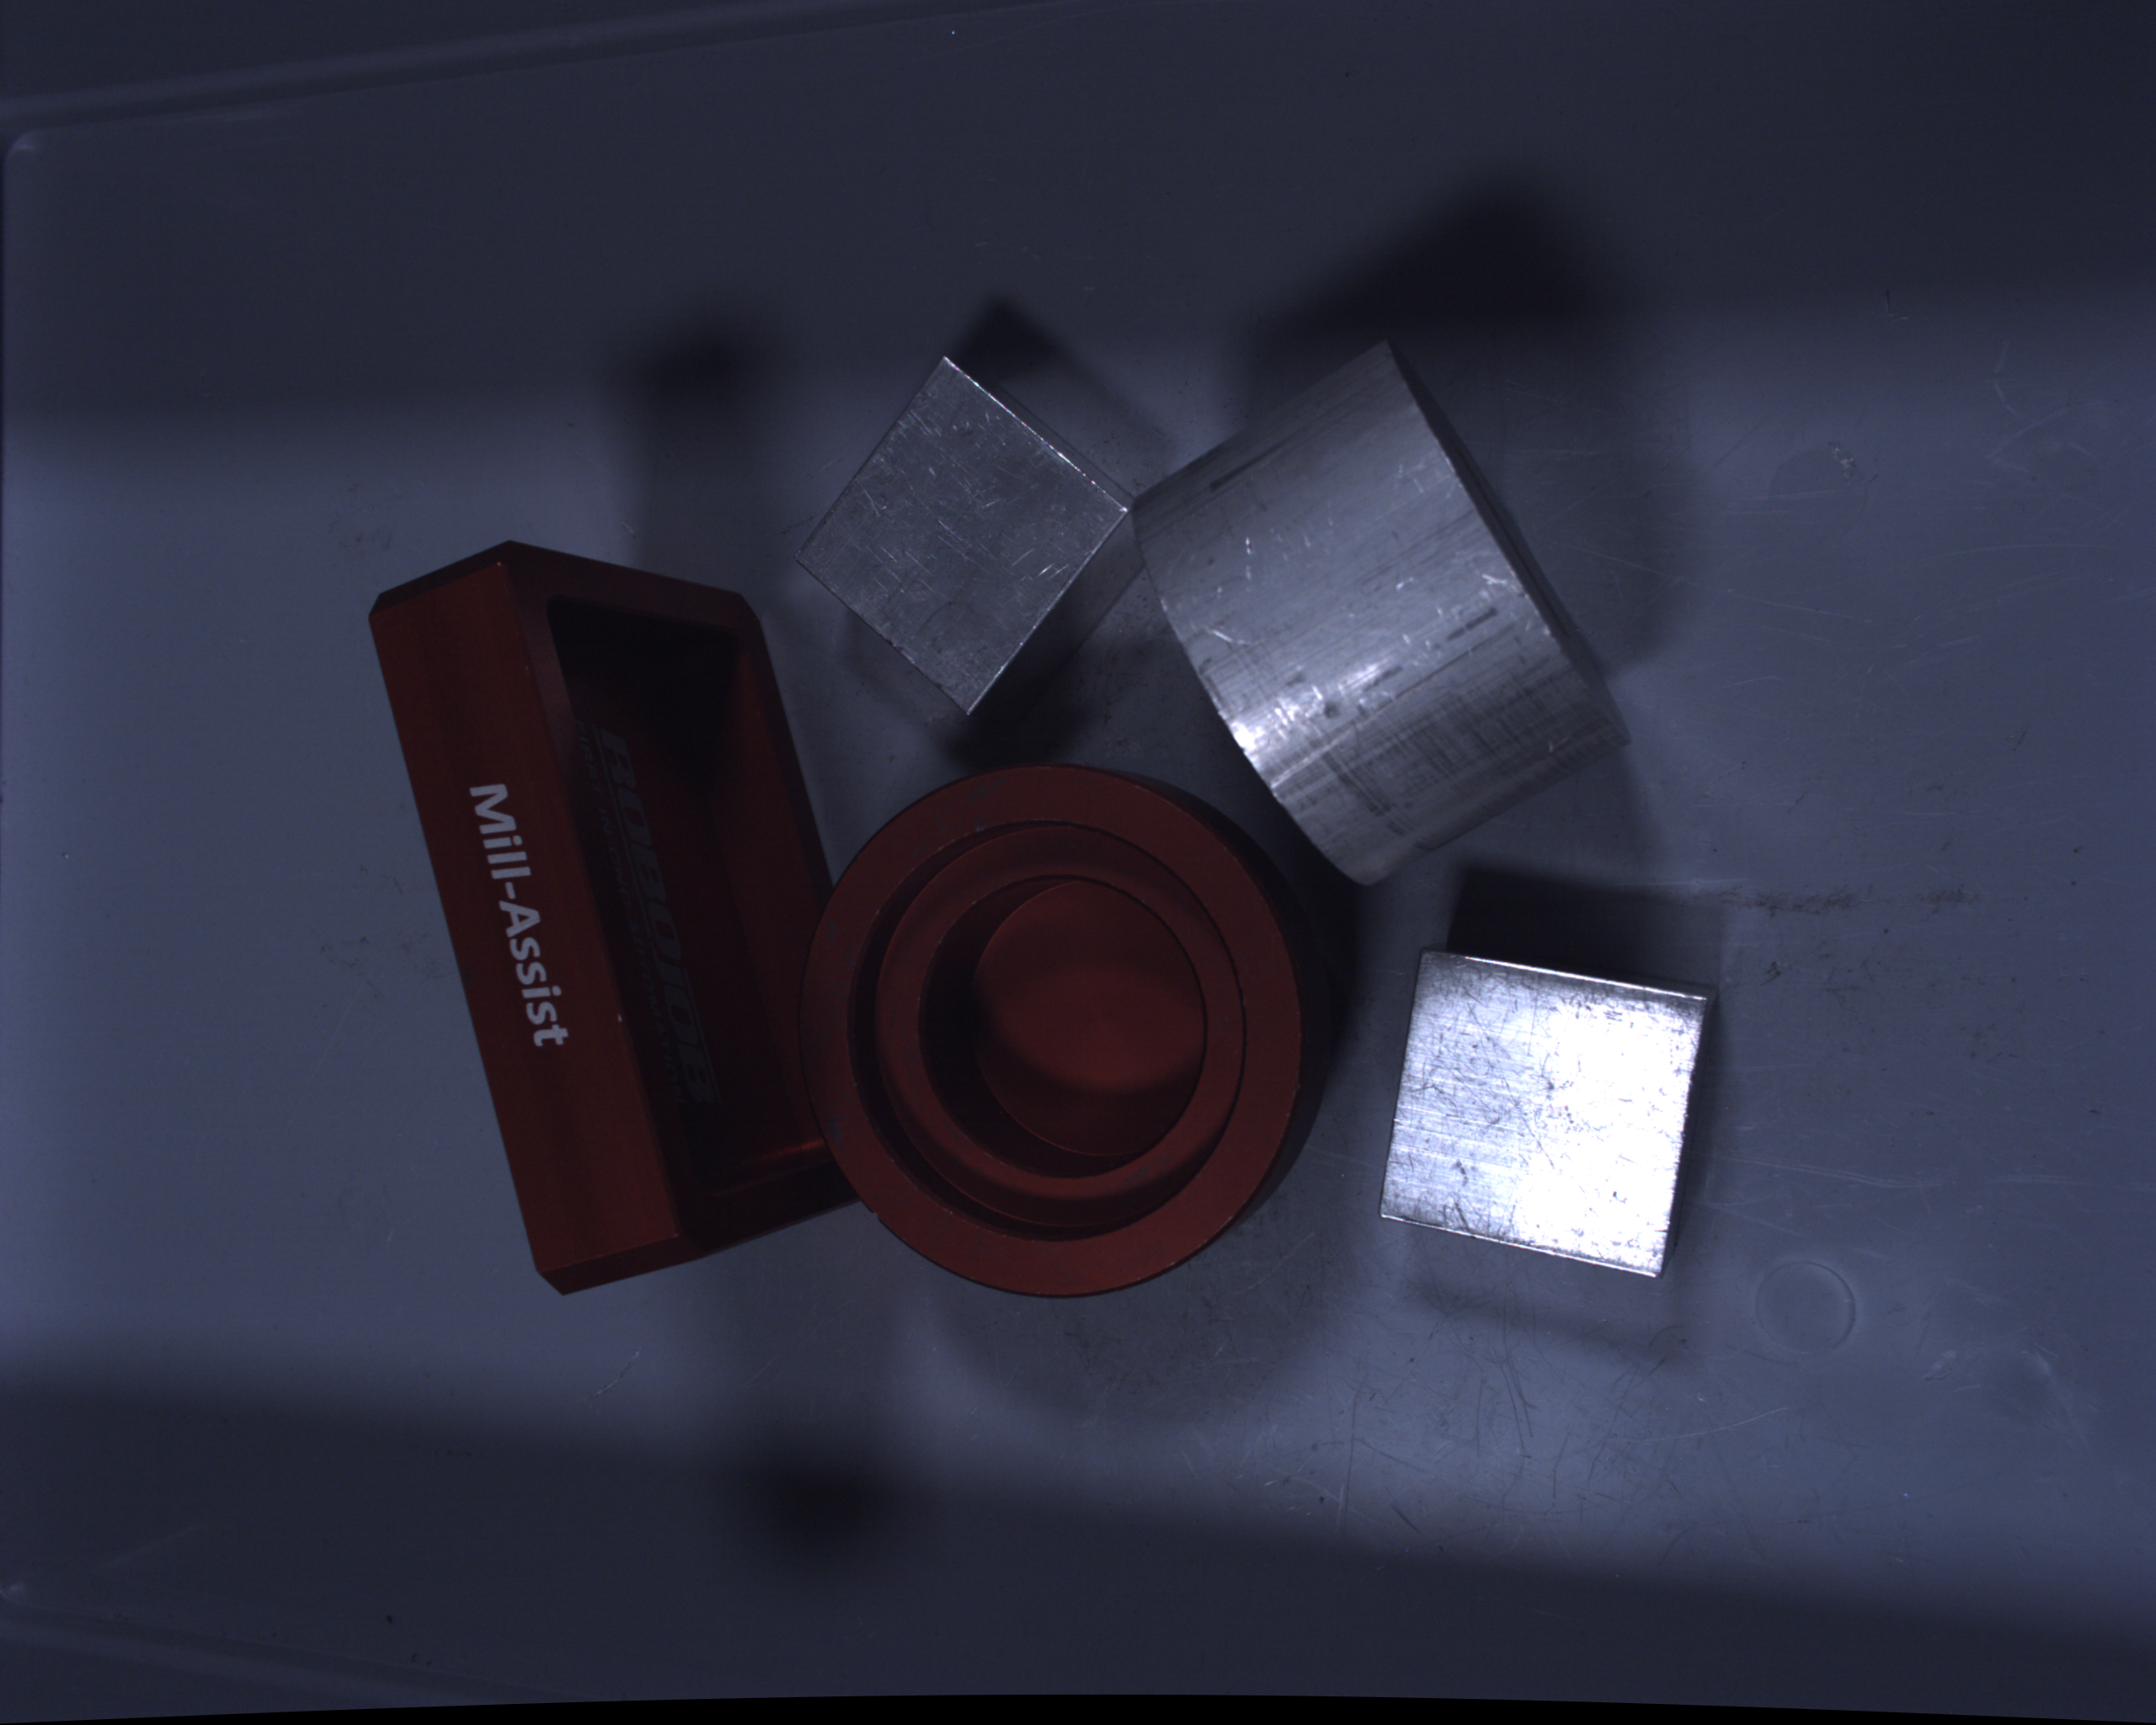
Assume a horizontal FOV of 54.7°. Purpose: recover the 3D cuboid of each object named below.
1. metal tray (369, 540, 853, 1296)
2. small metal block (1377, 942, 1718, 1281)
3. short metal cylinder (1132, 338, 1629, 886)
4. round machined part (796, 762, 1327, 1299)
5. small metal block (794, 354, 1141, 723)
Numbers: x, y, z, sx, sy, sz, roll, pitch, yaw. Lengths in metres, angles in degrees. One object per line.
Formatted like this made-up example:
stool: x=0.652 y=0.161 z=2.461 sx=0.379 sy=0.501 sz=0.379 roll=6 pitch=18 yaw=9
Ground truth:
metal tray: x=-0.081 y=0.009 z=0.401 sx=0.030 sy=0.090 sz=0.129 roll=-18 pitch=84 yaw=19
small metal block: x=0.085 y=0.044 z=0.378 sx=0.050 sy=0.025 sz=0.050 roll=10 pitch=93 yaw=20
short metal cylinder: x=0.053 y=-0.043 z=0.361 sx=0.050 sy=0.080 sz=0.080 roll=-31 pitch=80 yaw=17
round machined part: x=0.000 y=0.030 z=0.397 sx=0.098 sy=0.042 sz=0.097 roll=0 pitch=90 yaw=19
small metal block: x=-0.019 y=-0.063 z=0.414 sx=0.050 sy=0.025 sz=0.050 roll=42 pitch=104 yaw=16
